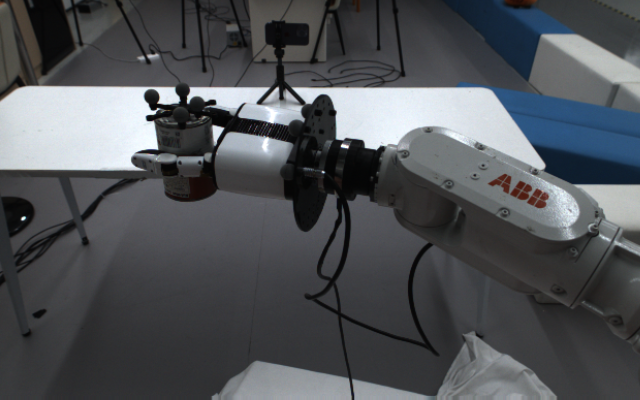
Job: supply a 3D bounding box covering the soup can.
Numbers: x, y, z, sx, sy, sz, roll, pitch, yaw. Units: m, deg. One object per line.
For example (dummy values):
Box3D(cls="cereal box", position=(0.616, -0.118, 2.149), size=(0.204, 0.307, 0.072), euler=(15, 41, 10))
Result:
Box3D(cls="soup can", position=(-0.162, -0.057, 0.596), size=(0.067, 0.101, 0.067), euler=(2, 32, -1))
